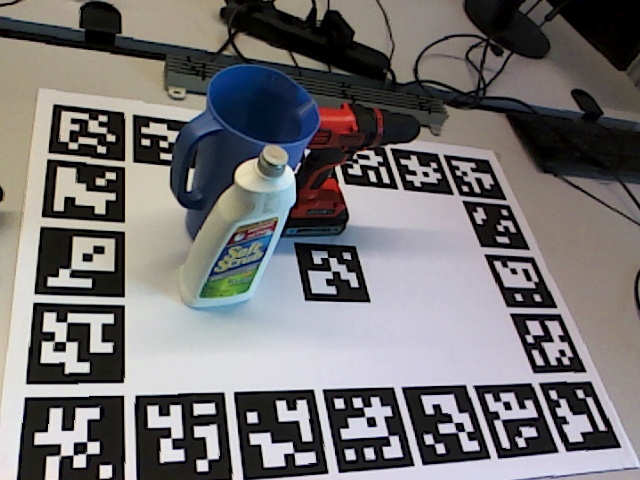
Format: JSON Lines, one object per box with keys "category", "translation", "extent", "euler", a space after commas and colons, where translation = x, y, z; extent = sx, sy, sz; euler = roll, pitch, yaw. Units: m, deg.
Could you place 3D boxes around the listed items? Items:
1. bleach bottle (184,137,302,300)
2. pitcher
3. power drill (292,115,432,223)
{"category": "bleach bottle", "translation": [-0.088, -0.022, 0.717], "extent": [0.102, 0.251, 0.068], "euler": [-5, 57, -26]}
{"category": "pitcher", "translation": [-0.104, -0.093, 0.793], "extent": [0.188, 0.243, 0.134], "euler": [-25, 69, -35]}
{"category": "power drill", "translation": [0.044, -0.097, 0.872], "extent": [0.183, 0.187, 0.057], "euler": [1, 57, -30]}
